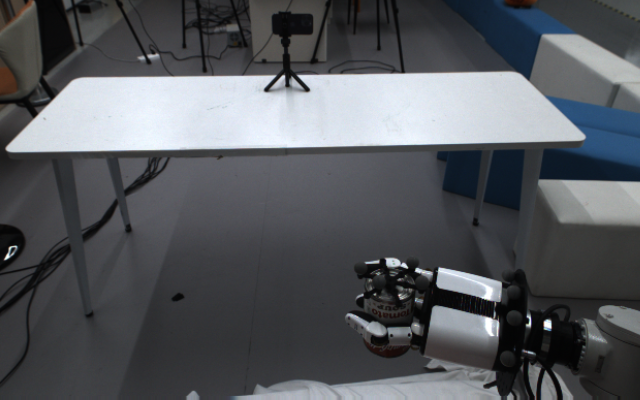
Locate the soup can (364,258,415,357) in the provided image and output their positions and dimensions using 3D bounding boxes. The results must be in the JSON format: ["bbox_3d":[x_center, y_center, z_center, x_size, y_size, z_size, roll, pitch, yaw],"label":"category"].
[{"bbox_3d":[0.093,0.149,0.647,0.067,0.101,0.067,-2,33,1],"label":"soup can"}]
